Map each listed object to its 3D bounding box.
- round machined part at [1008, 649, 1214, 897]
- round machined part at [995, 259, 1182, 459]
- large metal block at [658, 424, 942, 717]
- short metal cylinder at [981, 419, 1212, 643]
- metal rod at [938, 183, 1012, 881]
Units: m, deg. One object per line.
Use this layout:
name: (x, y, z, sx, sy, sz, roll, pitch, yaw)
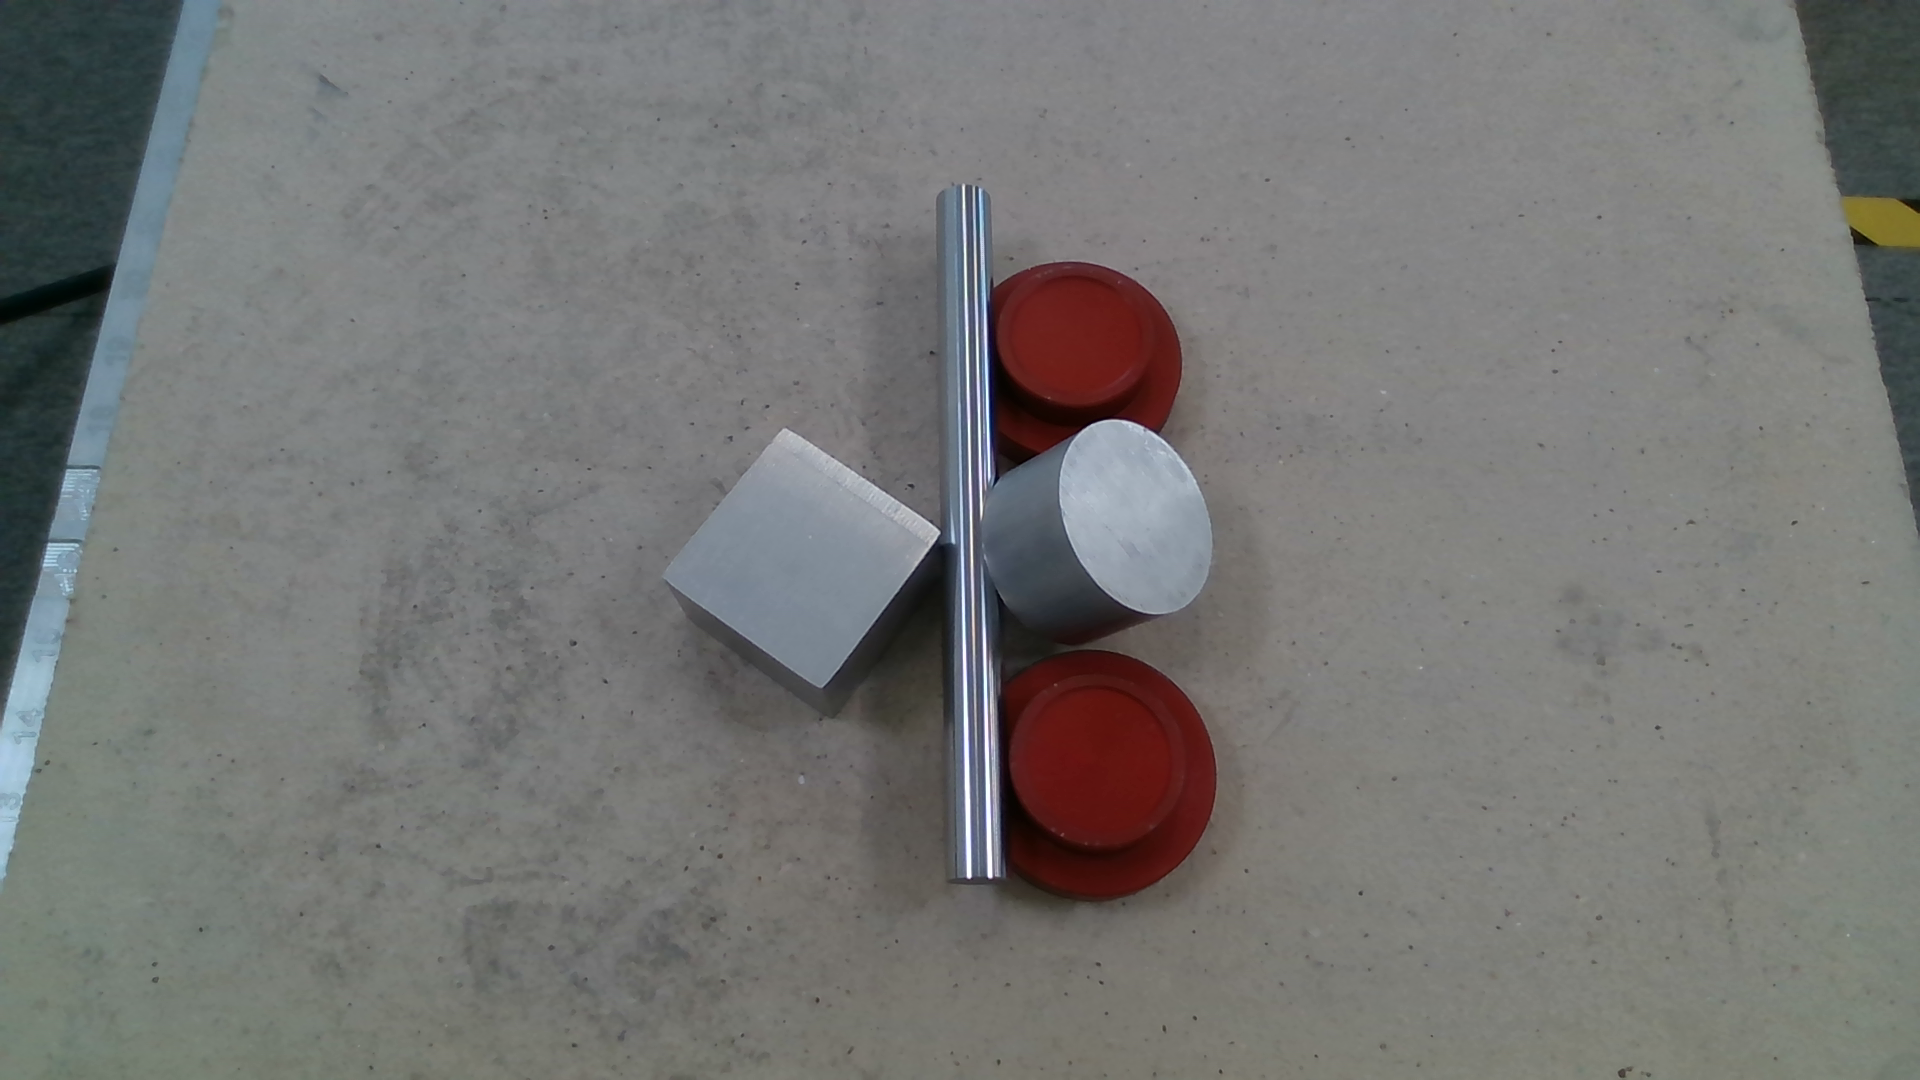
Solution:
round machined part: (0.052, 0.090, 0.548, 0.098, 0.042, 0.098, 0, 70, 0)
round machined part: (0.049, -0.082, 0.608, 0.098, 0.042, 0.098, 0, 70, 0)
large metal block: (-0.063, 0.013, 0.568, 0.080, 0.050, 0.080, 33, 74, 11)
short metal cylinder: (0.055, -0.003, 0.557, 0.080, 0.050, 0.080, 14, 65, -33)
metal rod: (0.005, -0.013, 0.571, 0.025, 0.025, 0.299, -1, 70, 0)
